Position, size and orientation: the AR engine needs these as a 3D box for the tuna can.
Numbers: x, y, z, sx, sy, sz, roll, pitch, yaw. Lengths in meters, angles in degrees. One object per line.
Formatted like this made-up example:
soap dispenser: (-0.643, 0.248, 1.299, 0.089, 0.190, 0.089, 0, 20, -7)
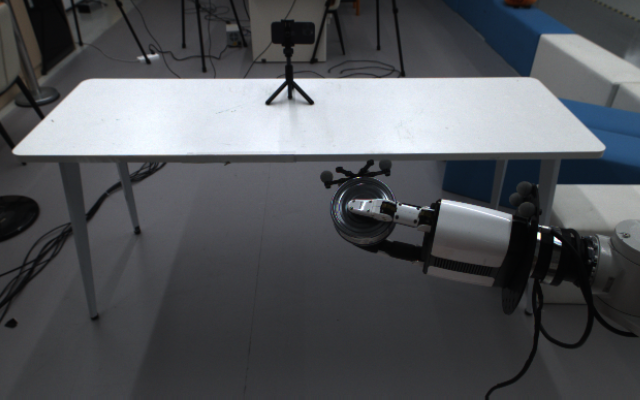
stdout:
tuna can: (0.059, 0.012, 0.624, 0.085, 0.034, 0.085, -4, 68, 9)
